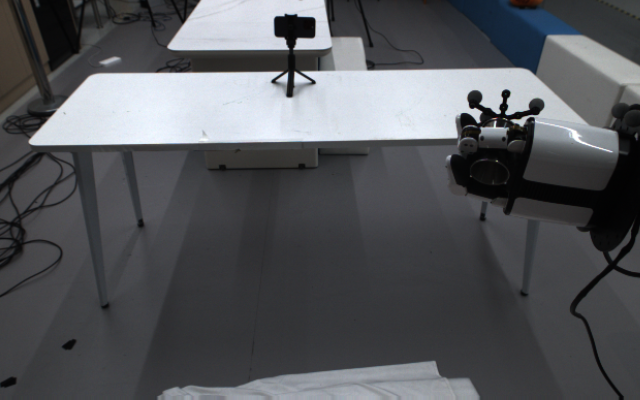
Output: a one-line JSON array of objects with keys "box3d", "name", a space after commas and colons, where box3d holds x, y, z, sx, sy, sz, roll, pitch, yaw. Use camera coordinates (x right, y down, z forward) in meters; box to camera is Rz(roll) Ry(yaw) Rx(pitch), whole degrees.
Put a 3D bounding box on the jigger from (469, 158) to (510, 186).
[{"box3d": [0.203, -0.057, 0.557, 0.043, 0.043, 0.071, 13, 58, 15], "name": "jigger"}]
